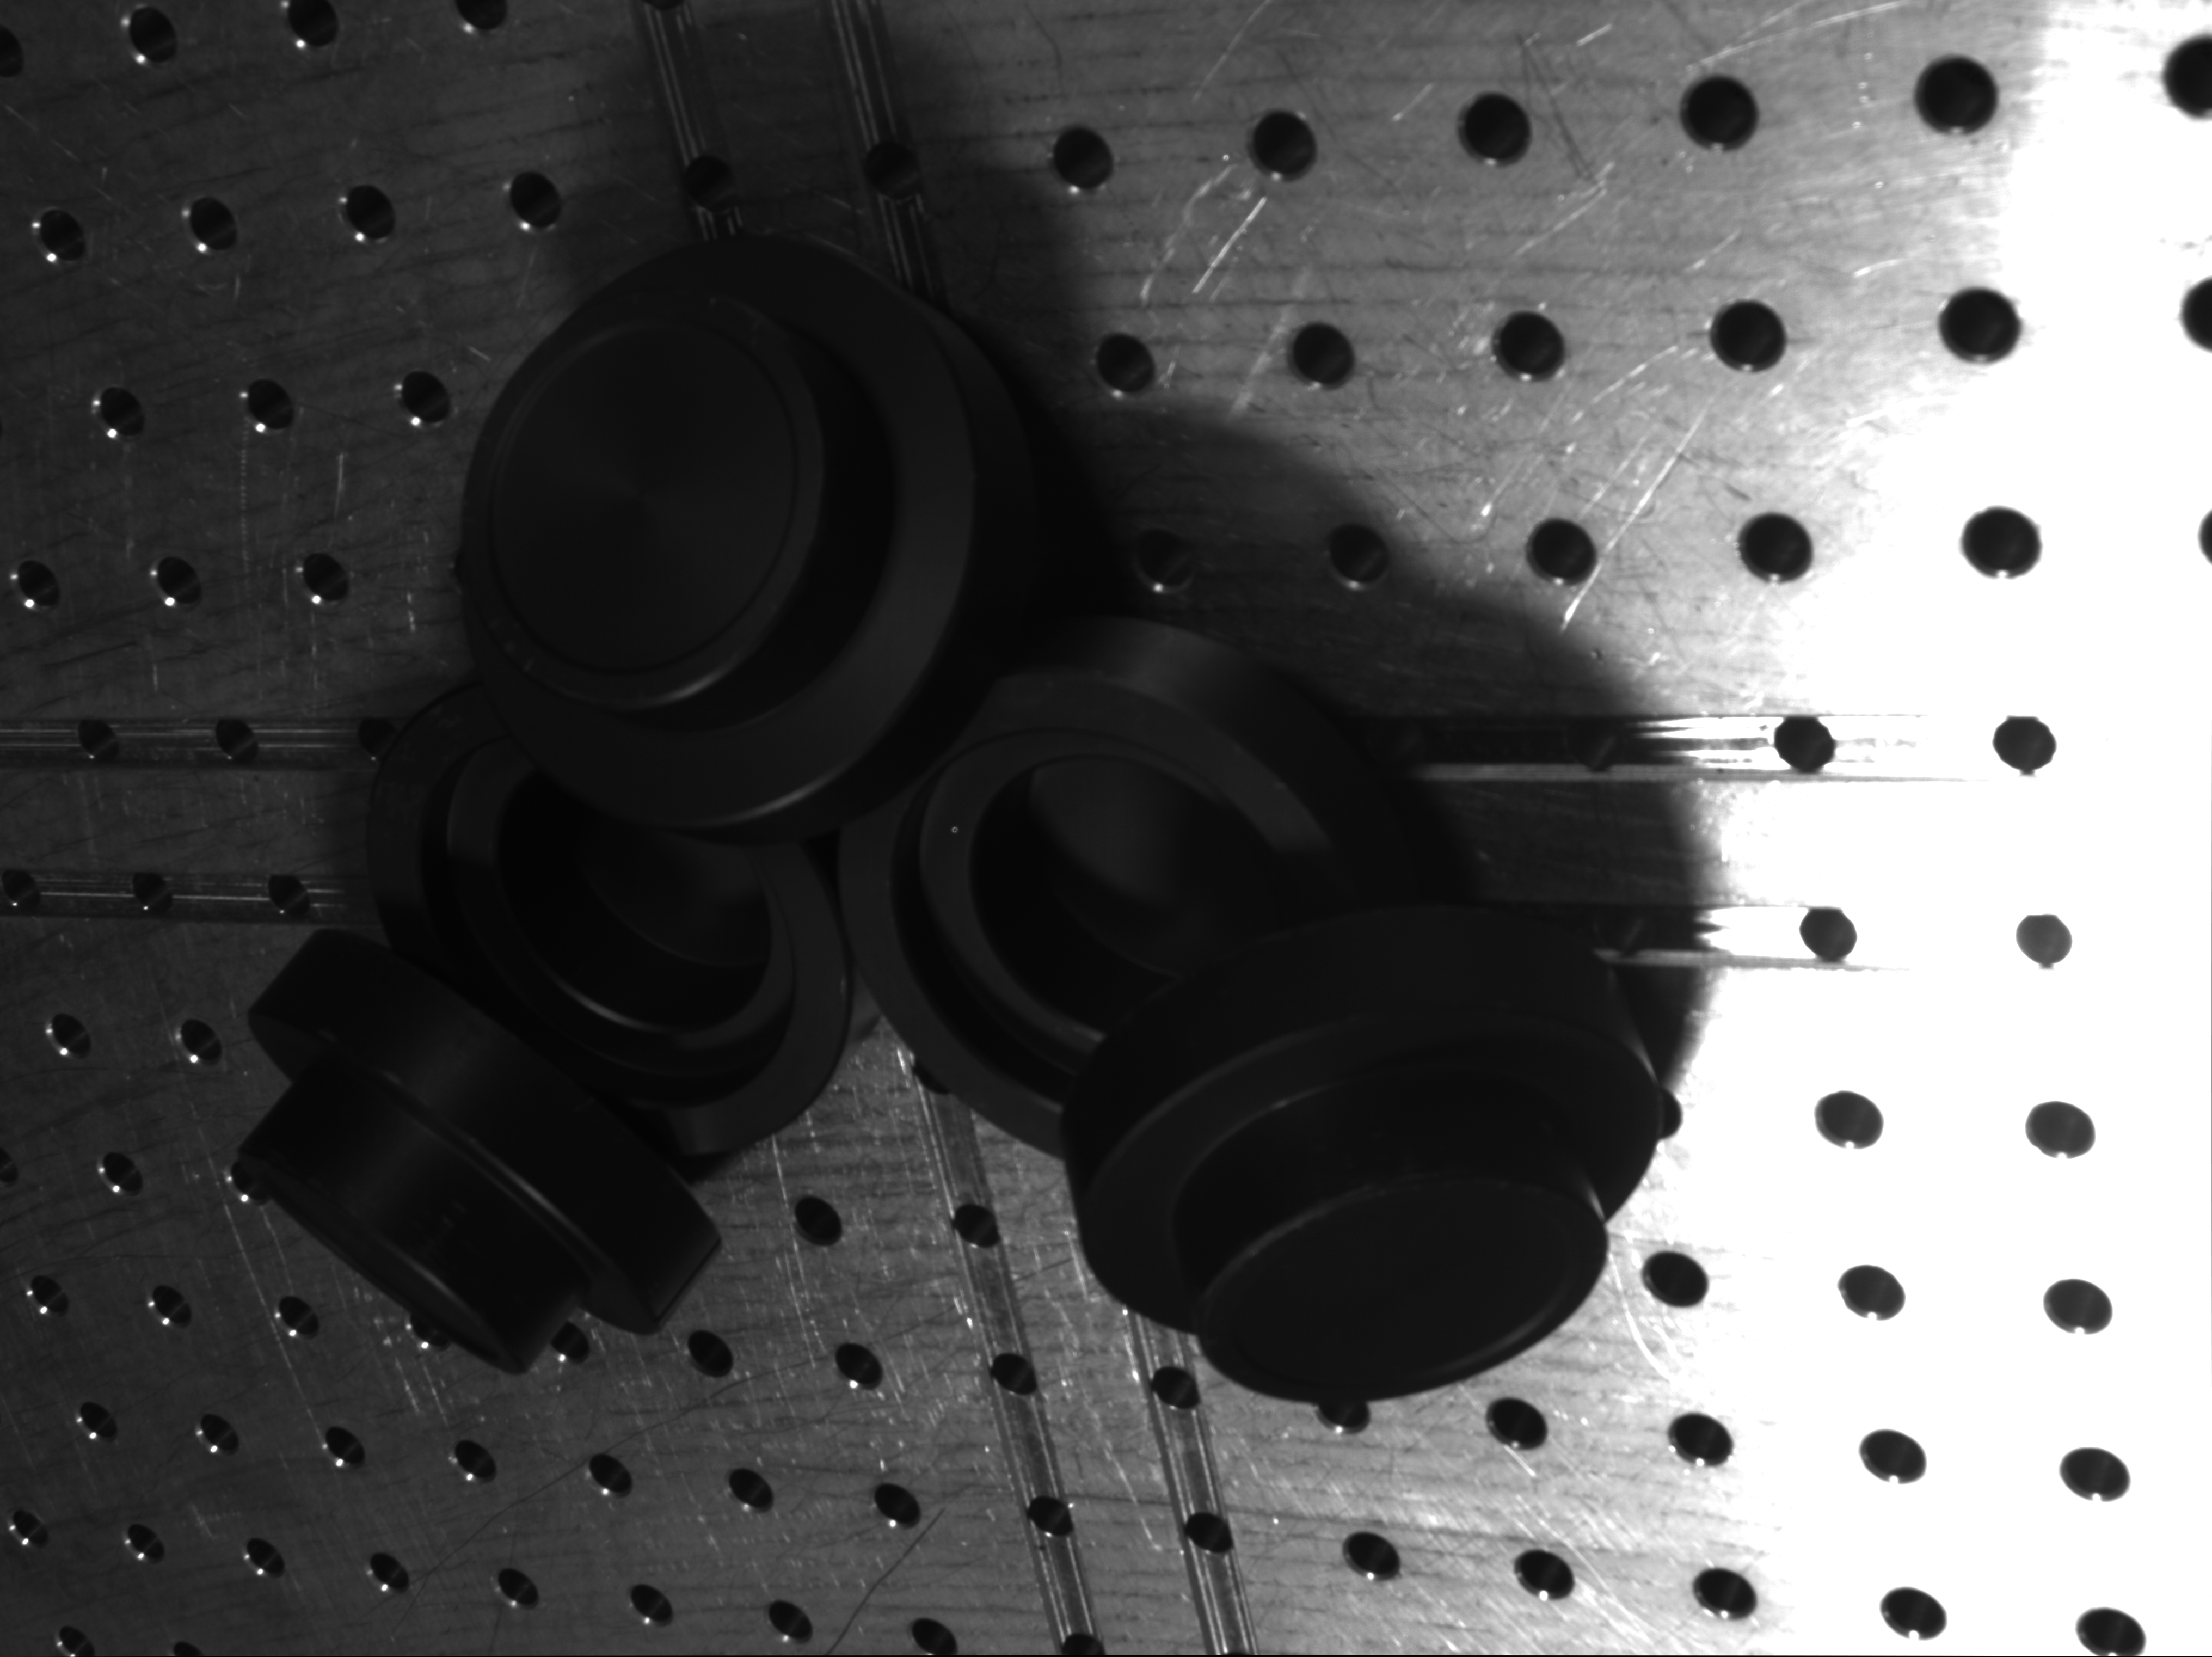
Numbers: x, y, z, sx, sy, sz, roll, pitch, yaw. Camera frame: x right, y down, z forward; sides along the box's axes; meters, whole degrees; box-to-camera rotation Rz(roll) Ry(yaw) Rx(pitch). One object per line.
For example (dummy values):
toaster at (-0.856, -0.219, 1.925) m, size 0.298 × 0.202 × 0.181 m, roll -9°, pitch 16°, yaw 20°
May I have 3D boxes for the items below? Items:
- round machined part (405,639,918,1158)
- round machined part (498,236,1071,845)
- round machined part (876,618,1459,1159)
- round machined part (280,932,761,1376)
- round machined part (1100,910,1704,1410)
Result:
round machined part at (-0.074, 0.008, 0.664) m, size 0.098 × 0.042 × 0.098 m, roll 12°, pitch 123°, yaw 20°
round machined part at (-0.058, -0.049, 0.591) m, size 0.098 × 0.042 × 0.098 m, roll -5°, pitch 78°, yaw 26°
round machined part at (0.014, 0.008, 0.621) m, size 0.098 × 0.042 × 0.098 m, roll 12°, pitch 123°, yaw 20°
round machined part at (-0.116, 0.066, 0.692) m, size 0.098 × 0.042 × 0.098 m, roll 33°, pitch 162°, yaw 13°
round machined part at (0.050, 0.060, 0.600) m, size 0.098 × 0.042 × 0.098 m, roll -7°, pitch 141°, yaw -6°
